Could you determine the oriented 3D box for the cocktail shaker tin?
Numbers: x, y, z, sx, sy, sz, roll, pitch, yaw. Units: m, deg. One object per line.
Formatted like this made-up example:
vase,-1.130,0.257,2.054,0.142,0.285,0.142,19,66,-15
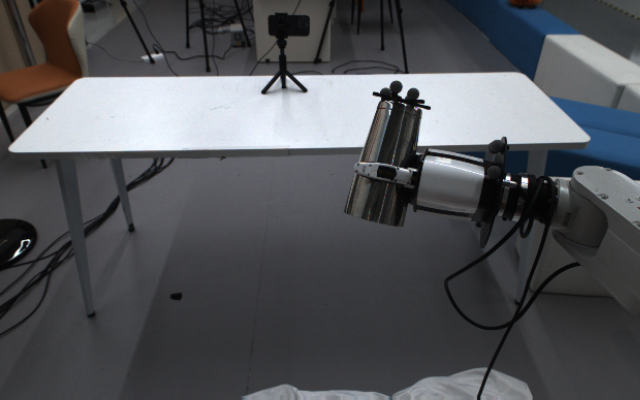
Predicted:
cocktail shaker tin,0.099,-0.056,0.714,0.093,0.170,0.093,13,4,-1
